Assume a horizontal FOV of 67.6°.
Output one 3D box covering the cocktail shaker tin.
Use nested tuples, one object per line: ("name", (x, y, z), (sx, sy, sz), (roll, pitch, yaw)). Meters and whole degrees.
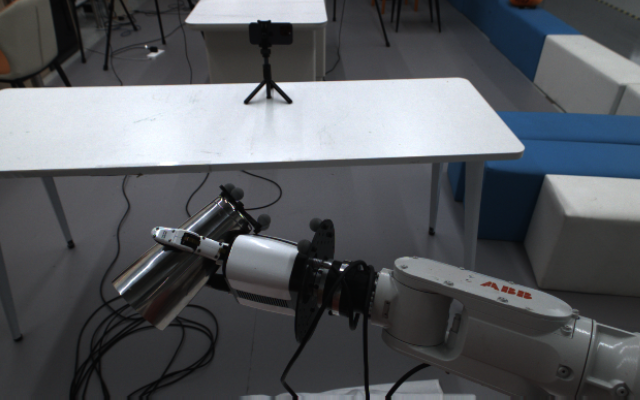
("cocktail shaker tin", (-0.173, 0.072, 0.637), (0.170, 0.093, 0.093), (-43, 50, -14))
